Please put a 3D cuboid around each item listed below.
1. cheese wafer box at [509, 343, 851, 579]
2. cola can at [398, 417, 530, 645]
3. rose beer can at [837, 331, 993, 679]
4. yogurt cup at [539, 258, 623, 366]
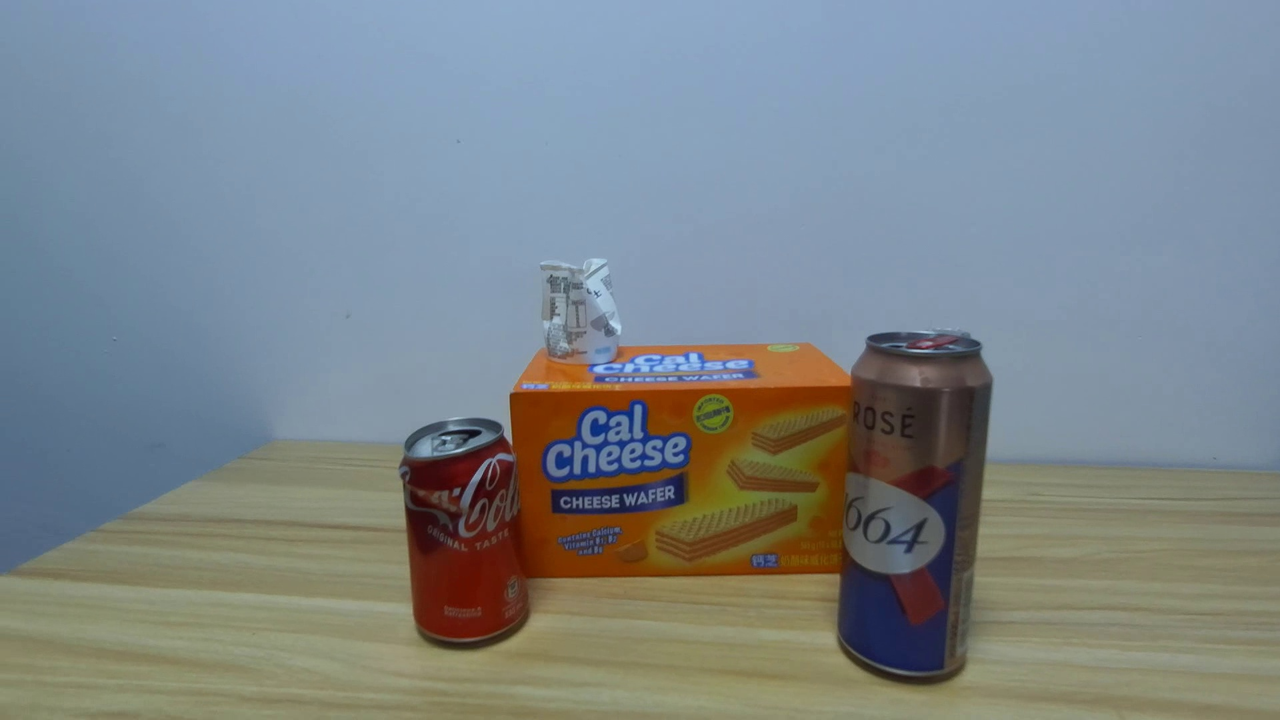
[{"bbox_3d":[0.030,0.065,0.515,0.222,0.129,0.148,-1,12,0],"label":"cheese wafer box"},{"bbox_3d":[-0.097,0.096,0.401,0.066,0.117,0.072,-9,13,-38],"label":"cola can"},{"bbox_3d":[0.140,0.075,0.363,0.068,0.169,0.068,0,11,0],"label":"rose beer can"},{"bbox_3d":[-0.044,-0.037,0.522,0.055,0.072,0.055,-12,17,-42],"label":"yogurt cup"}]
